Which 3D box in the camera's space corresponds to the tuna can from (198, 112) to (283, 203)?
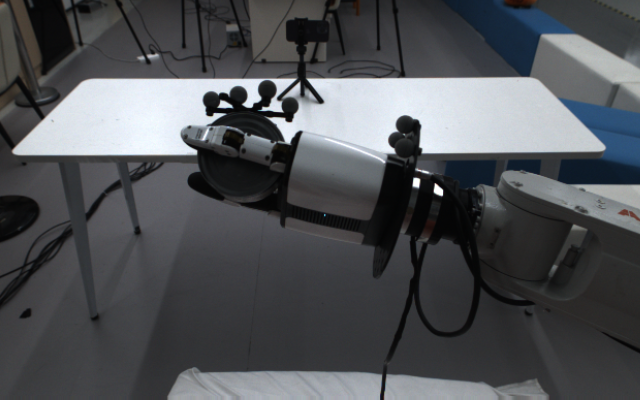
[{"bbox_3d":[-0.073,-0.041,0.480,0.085,0.034,0.085,0,77,0],"label":"tuna can"}]
